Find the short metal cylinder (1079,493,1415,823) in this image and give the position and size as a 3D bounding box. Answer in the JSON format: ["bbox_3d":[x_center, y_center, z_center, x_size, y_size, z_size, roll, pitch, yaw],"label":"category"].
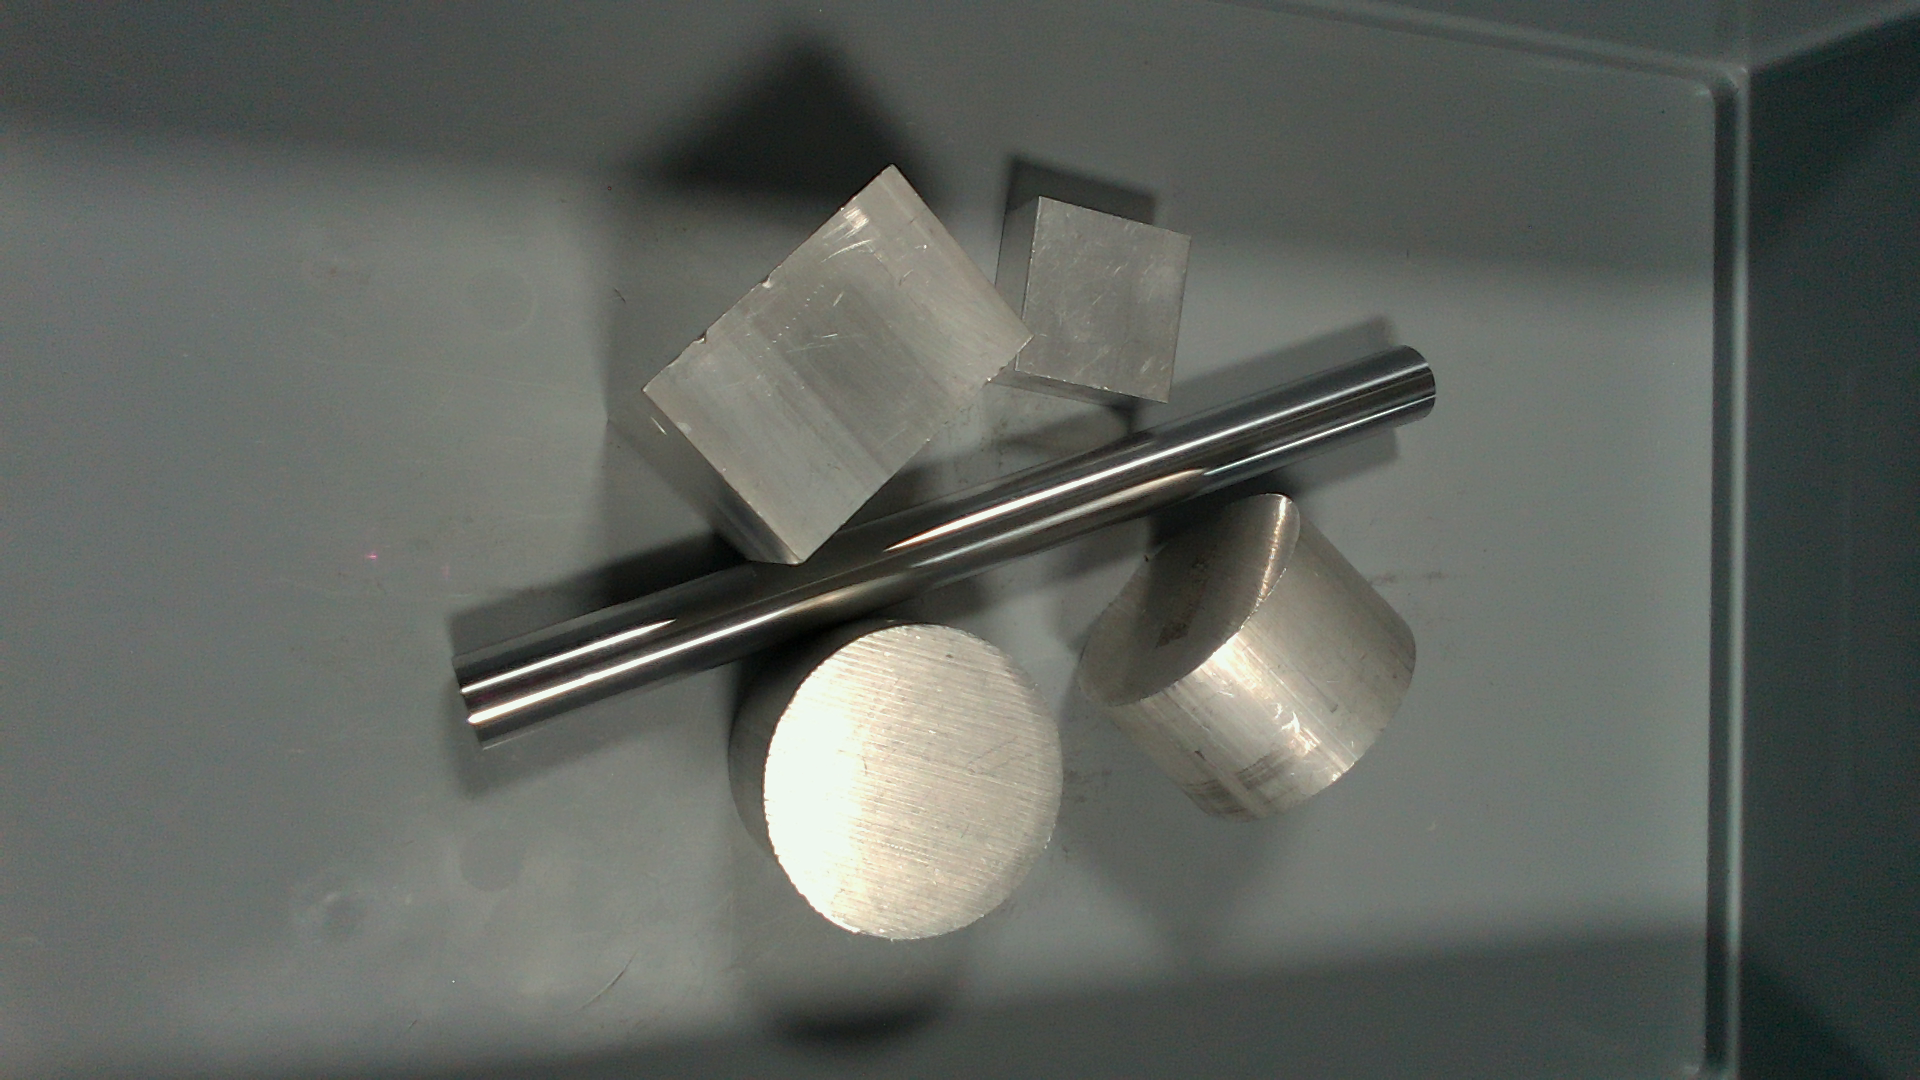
[{"bbox_3d":[0.081,0.033,0.393,0.050,0.080,0.080,44,76,-15],"label":"short metal cylinder"}]

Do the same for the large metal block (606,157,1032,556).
[{"bbox_3d":[-0.040,-0.042,0.349,0.080,0.080,0.050,-45,104,-14],"label":"large metal block"}]

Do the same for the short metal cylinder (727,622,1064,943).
[{"bbox_3d":[-0.019,0.062,0.372,0.080,0.050,0.080,0,90,-20],"label":"short metal cylinder"}]

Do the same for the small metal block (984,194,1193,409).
[{"bbox_3d":[0.037,-0.069,0.406,0.050,0.025,0.050,9,87,-20],"label":"small metal block"}]

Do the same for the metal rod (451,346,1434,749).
[{"bbox_3d":[0.010,-0.005,0.396,0.301,0.025,0.025,-19,96,-19],"label":"metal rod"}]
